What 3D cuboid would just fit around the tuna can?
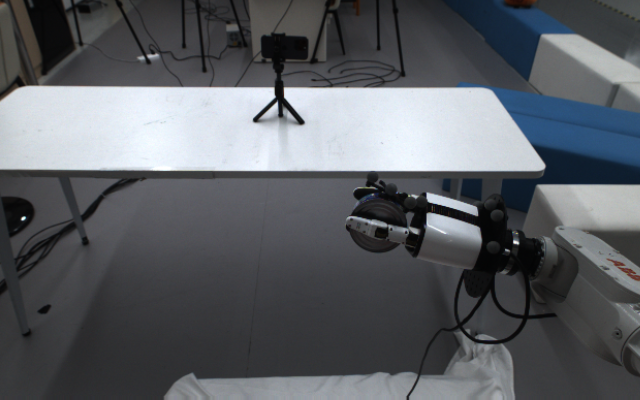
[{"bbox_3d":[0.089,0.032,0.722,0.085,0.085,0.034,7,17,7],"label":"tuna can"}]
